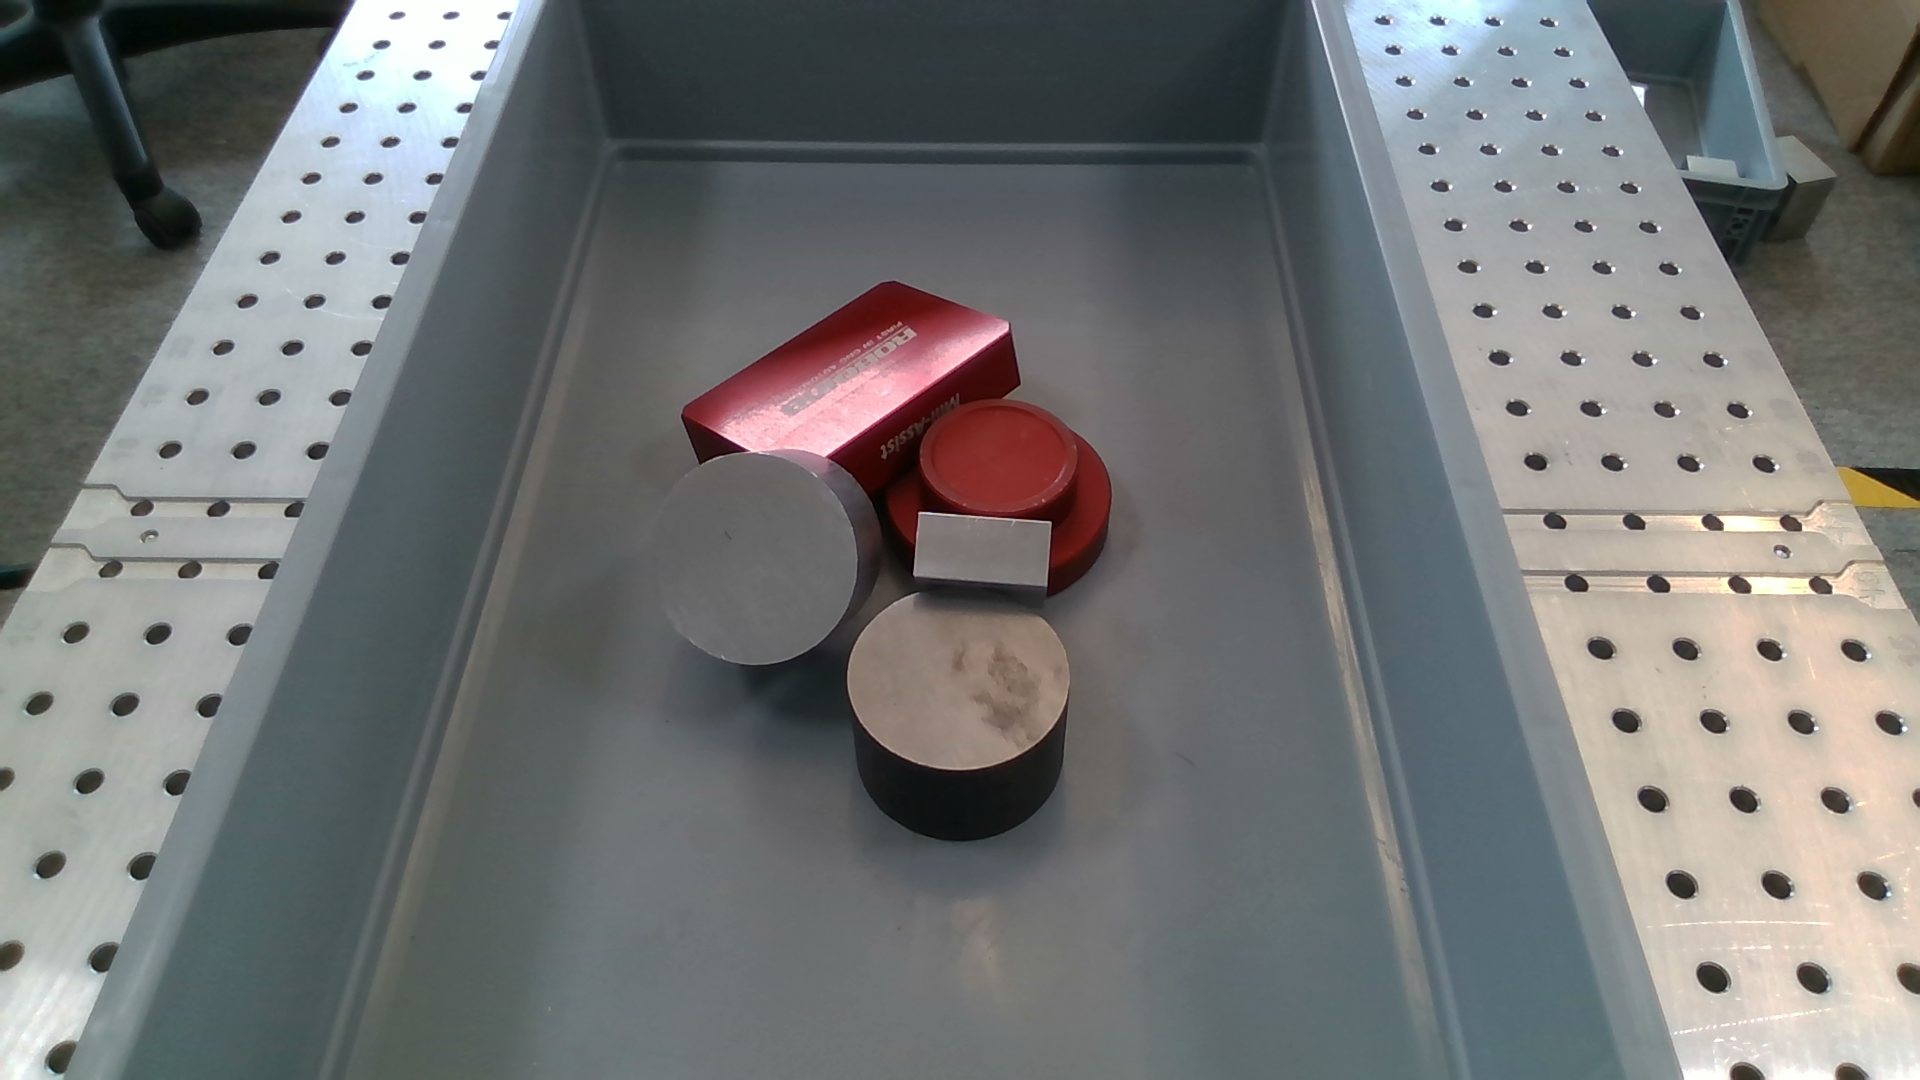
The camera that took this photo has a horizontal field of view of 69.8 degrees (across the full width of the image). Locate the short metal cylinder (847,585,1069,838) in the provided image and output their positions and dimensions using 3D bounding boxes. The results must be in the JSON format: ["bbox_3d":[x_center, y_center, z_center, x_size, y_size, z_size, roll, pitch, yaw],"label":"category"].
[{"bbox_3d":[-0.001,0.064,0.517,0.080,0.050,0.080,0,50,0],"label":"short metal cylinder"}]

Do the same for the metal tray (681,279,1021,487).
[{"bbox_3d":[-0.048,-0.066,0.623,0.130,0.030,0.090,-37,44,-27],"label":"metal tray"}]

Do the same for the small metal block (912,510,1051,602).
[{"bbox_3d":[0.009,0.008,0.539,0.050,0.050,0.025,4,78,3],"label":"small metal block"}]

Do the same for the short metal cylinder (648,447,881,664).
[{"bbox_3d":[-0.075,0.004,0.538,0.080,0.080,0.050,7,7,6],"label":"short metal cylinder"}]

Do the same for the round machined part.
[{"bbox_3d":[0.016,-0.024,0.594,0.098,0.042,0.098,0,50,0],"label":"round machined part"}]
